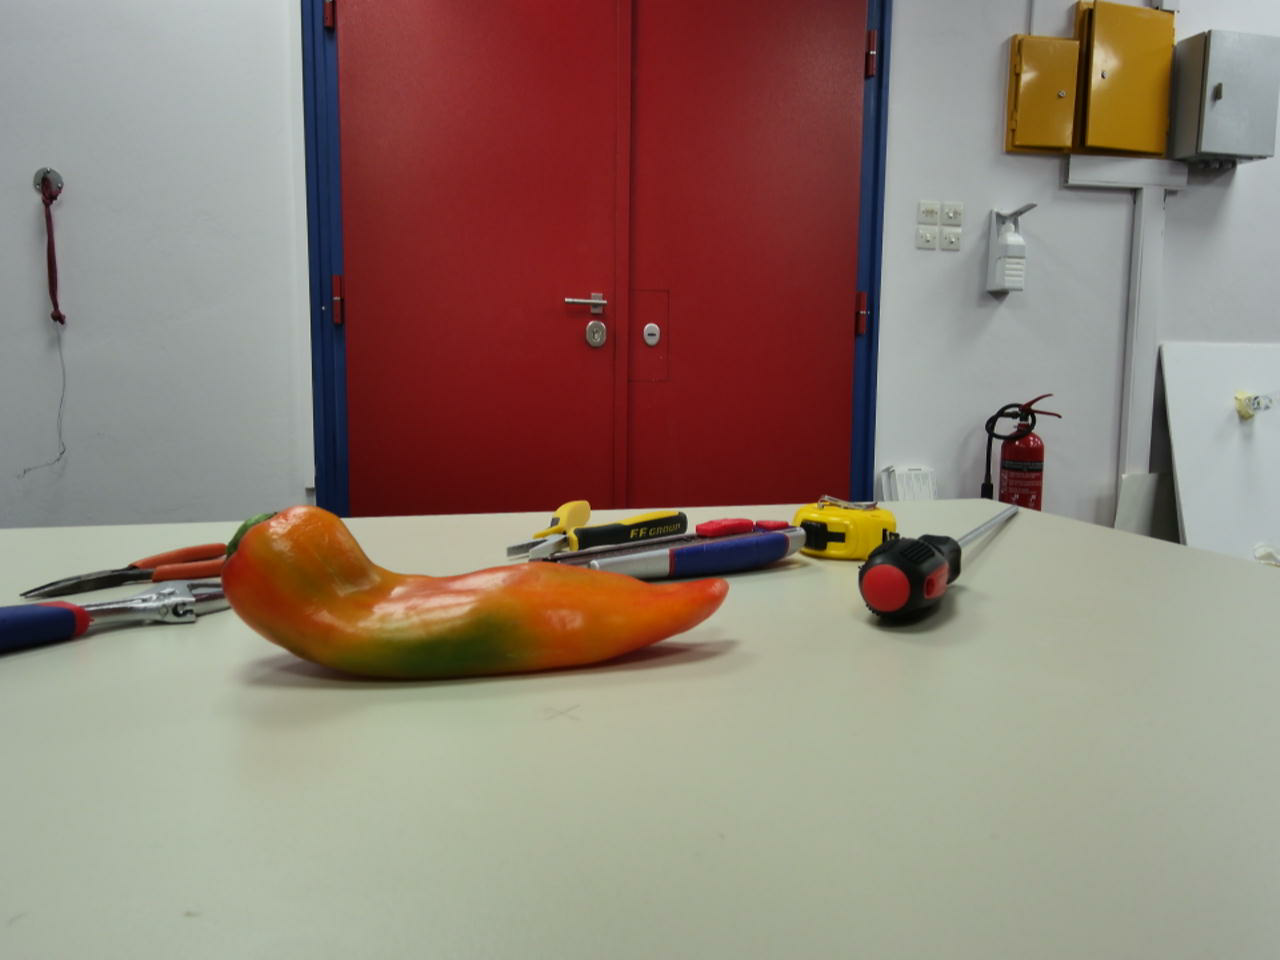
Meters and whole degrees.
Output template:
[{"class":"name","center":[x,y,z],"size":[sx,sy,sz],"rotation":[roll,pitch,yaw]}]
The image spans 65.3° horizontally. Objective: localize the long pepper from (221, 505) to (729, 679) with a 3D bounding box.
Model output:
[{"class":"long pepper","center":[-0.060,0.041,0.397],"size":[0.199,0.065,0.066],"rotation":[-1,4,-8]}]
